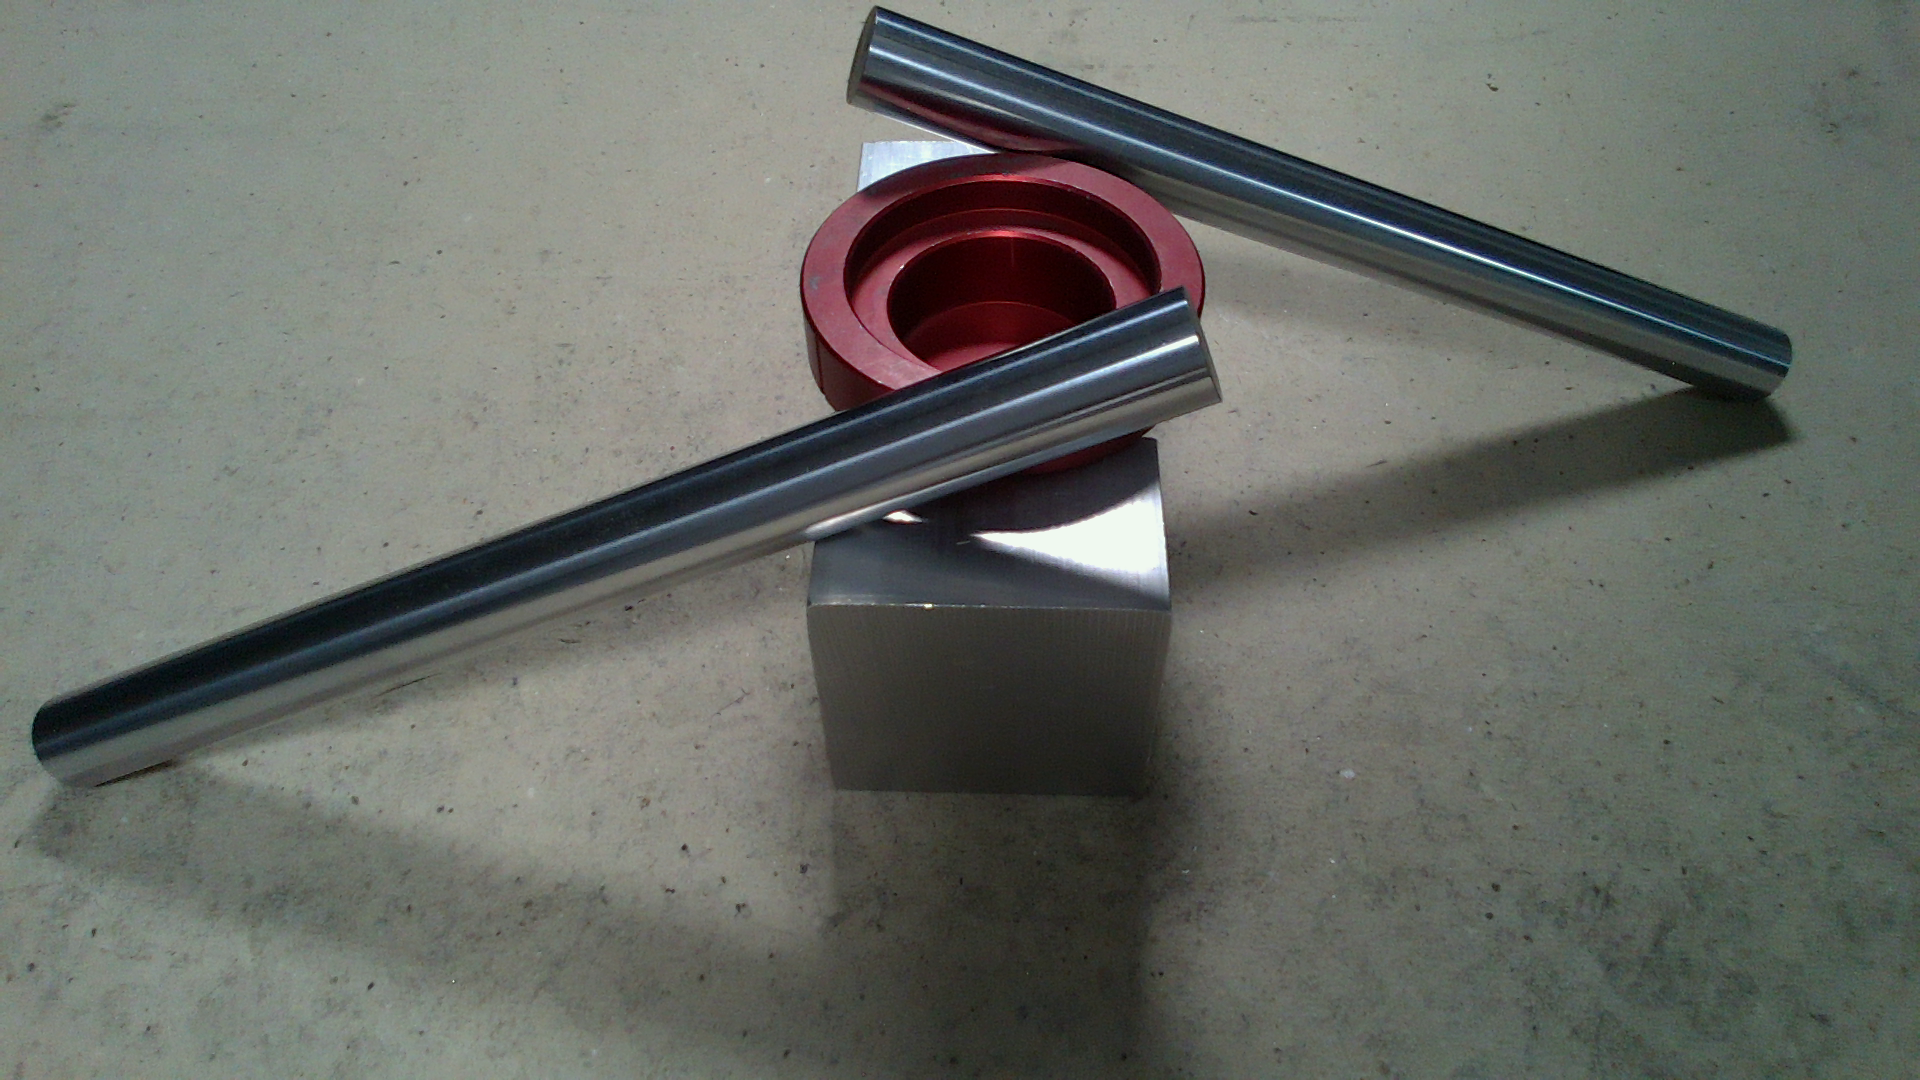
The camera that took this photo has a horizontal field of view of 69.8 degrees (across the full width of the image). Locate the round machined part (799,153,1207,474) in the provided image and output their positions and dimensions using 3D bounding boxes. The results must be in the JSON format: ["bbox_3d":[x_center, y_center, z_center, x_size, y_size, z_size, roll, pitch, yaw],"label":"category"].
[{"bbox_3d":[0.010,-0.052,0.347,0.098,0.042,0.098,0,50,0],"label":"round machined part"}]

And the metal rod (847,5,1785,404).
[{"bbox_3d":[0.114,-0.090,0.398,0.301,0.025,0.025,14,48,-17],"label":"metal rod"}]

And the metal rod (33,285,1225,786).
[{"bbox_3d":[-0.088,0.006,0.314,0.299,0.025,0.025,-18,48,15],"label":"metal rod"}]

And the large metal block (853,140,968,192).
[{"bbox_3d":[0.010,-0.072,0.416,0.080,0.080,0.050,1,50,1],"label":"large metal block"}]

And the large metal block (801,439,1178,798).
[{"bbox_3d":[0.007,0.021,0.338,0.080,0.080,0.050,1,50,1],"label":"large metal block"}]
